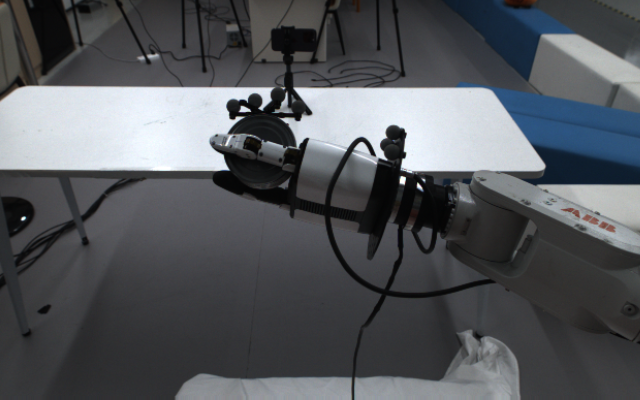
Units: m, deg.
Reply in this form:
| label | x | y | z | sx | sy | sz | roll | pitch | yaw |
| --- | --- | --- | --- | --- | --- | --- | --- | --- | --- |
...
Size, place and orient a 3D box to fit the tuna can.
| label | x | y | z | sx | sy | sz | roll | pitch | yaw |
| --- | --- | --- | --- | --- | --- | --- | --- | --- | --- |
| tuna can | -0.068 | -0.057 | 0.578 | 0.085 | 0.034 | 0.085 | -1 | 77 | 4 |
